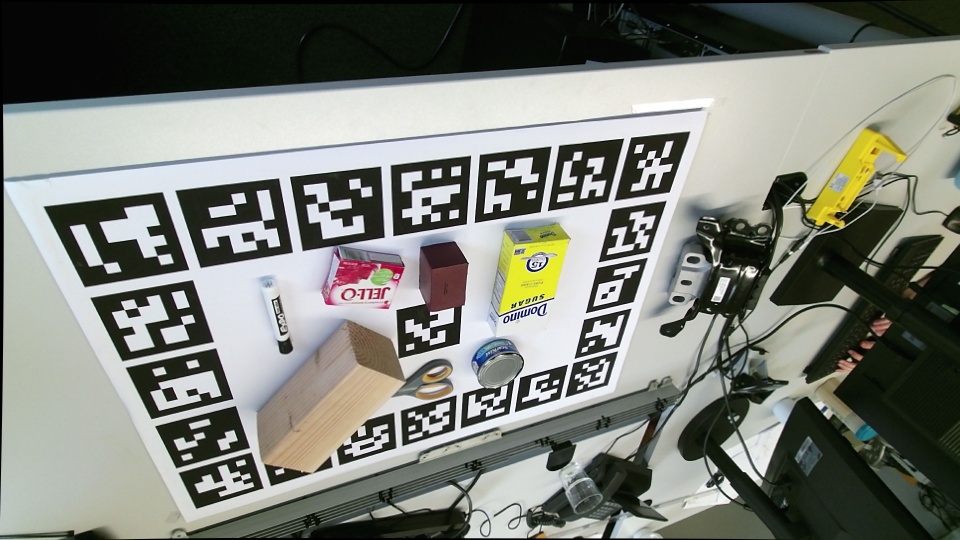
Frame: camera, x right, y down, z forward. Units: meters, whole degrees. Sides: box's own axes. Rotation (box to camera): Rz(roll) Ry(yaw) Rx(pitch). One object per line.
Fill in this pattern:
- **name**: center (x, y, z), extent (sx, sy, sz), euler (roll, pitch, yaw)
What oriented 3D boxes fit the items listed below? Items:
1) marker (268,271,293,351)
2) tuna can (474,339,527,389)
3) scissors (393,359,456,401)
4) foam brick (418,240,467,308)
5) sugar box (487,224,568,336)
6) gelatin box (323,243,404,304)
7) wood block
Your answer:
- **marker**: center (-0.259, 0.057, 0.698), extent (0.020, 0.019, 0.121), euler (-10, 125, -22)
- **tuna can**: center (0.034, 0.161, 0.916), extent (0.086, 0.033, 0.086), euler (-14, 128, -19)
- **scissors**: center (-0.131, 0.191, 0.868), extent (0.203, 0.016, 0.087), euler (-5, 125, -27)
- **foam brick**: center (-0.054, 0.005, 0.743), extent (0.053, 0.051, 0.078), euler (-9, 126, -23)
- **sugar box**: center (0.070, 0.018, 0.829), extent (0.093, 0.045, 0.176), euler (-6, 126, -23)
- **gelatin box**: center (-0.154, 0.007, 0.711), extent (0.090, 0.030, 0.073), euler (7, 119, -32)
- **wood block**: center (-0.221, 0.178, 0.765), extent (0.206, 0.090, 0.090), euler (-46, 132, 10)
